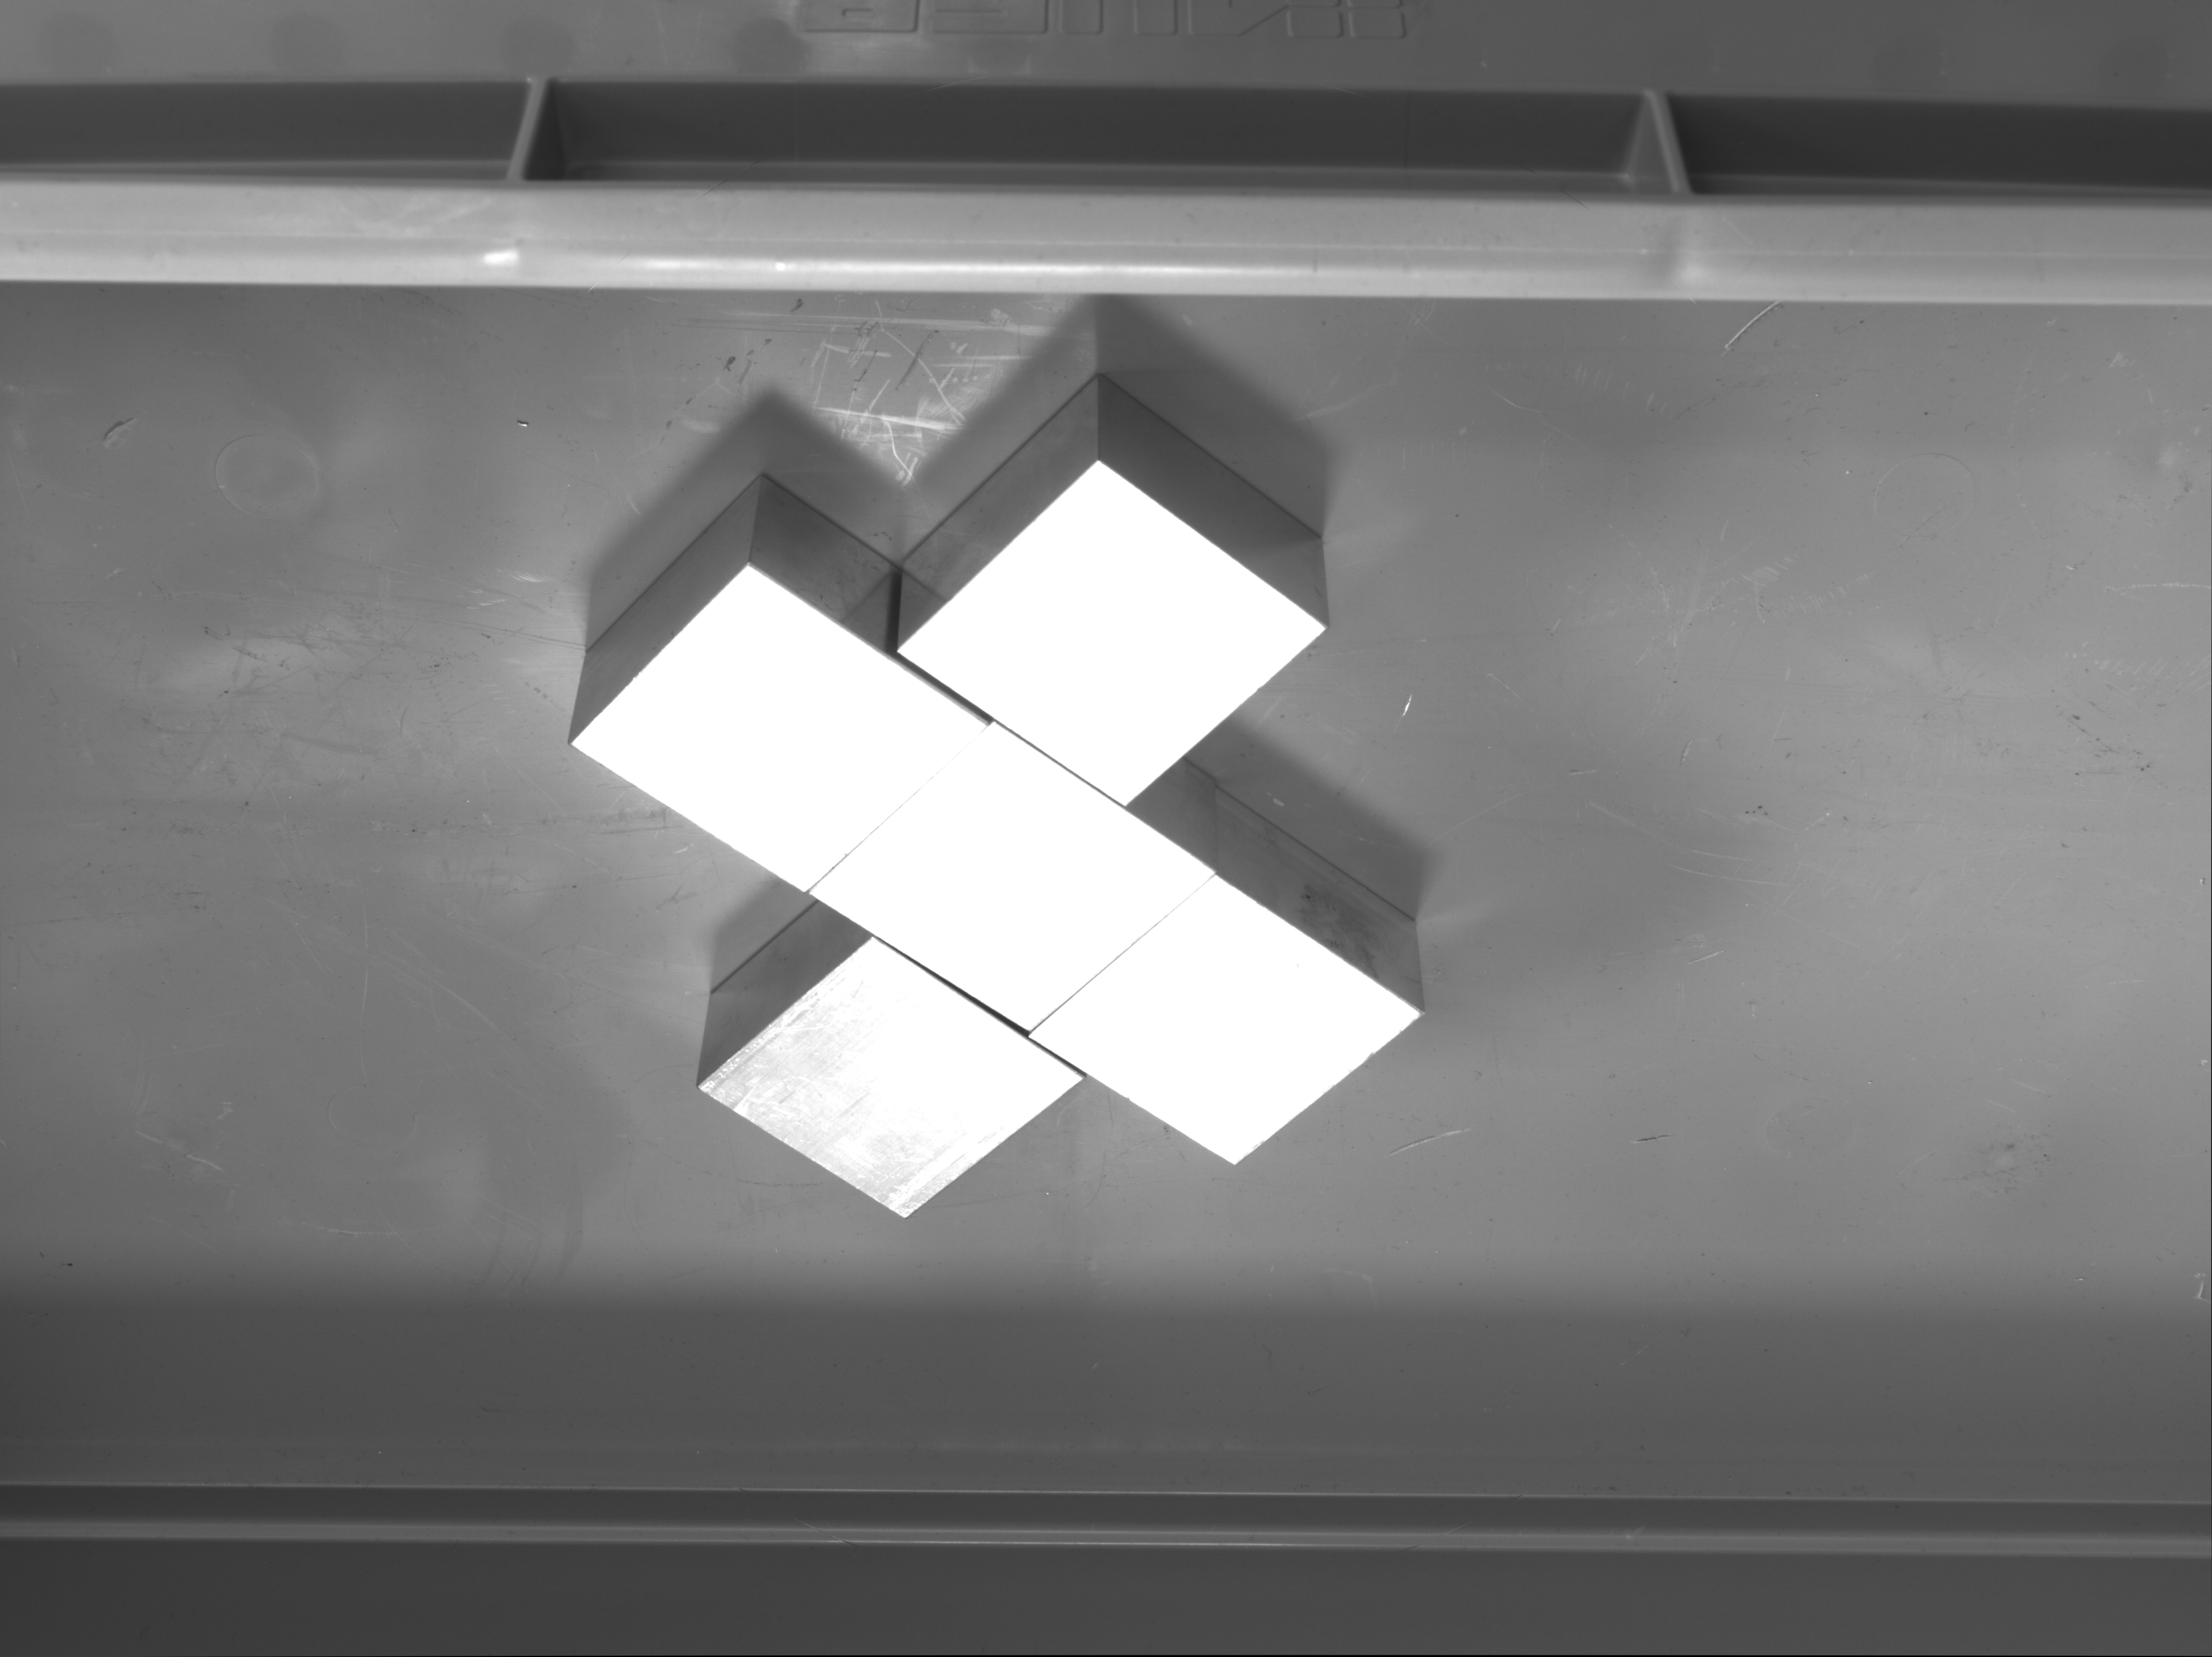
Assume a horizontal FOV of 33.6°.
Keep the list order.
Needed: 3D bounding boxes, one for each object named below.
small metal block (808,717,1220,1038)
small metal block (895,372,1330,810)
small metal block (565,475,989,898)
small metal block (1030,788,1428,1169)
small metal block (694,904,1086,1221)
[{"bbox_3d":[-0.016,0.002,0.638,0.050,0.025,0.050,34,122,-25],"label":"small metal block"},{"bbox_3d":[0.001,-0.038,0.604,0.050,0.025,0.050,34,121,-25],"label":"small metal block"},{"bbox_3d":[-0.055,-0.023,0.617,0.050,0.025,0.050,34,122,-25],"label":"small metal block"},{"bbox_3d":[0.022,0.027,0.660,0.050,0.025,0.050,34,122,-25],"label":"small metal block"},{"bbox_3d":[-0.039,0.038,0.669,0.050,0.025,0.050,35,122,-26],"label":"small metal block"}]
